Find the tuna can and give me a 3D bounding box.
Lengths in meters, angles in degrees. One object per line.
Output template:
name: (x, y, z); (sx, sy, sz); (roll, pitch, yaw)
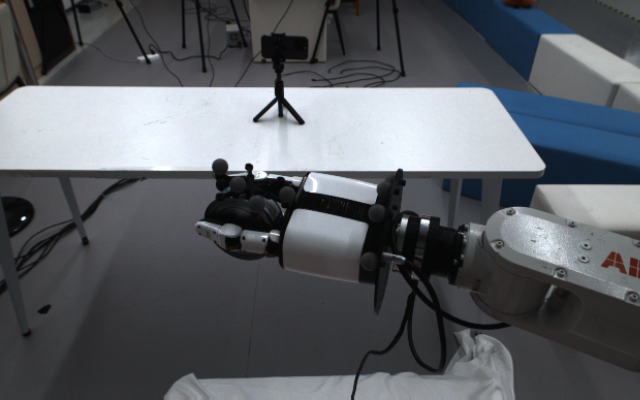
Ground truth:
tuna can: (-0.083, 0.023, 0.551); (0.085, 0.085, 0.034); (12, 33, 14)
